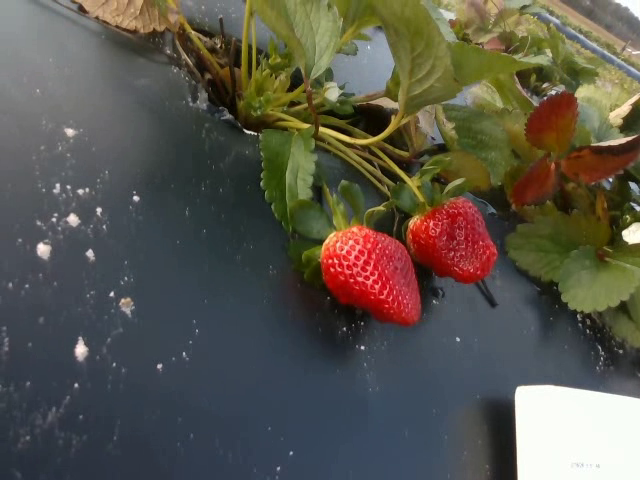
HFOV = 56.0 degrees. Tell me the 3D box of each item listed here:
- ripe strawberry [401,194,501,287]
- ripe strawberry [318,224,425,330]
[{"bbox_3d":[0.073,-0.001,0.309,0.042,0.034,0.053,-5,46,-31],"label":"ripe strawberry"},{"bbox_3d":[0.027,0.017,0.265,0.050,0.045,0.061,1,39,-30],"label":"ripe strawberry"}]
